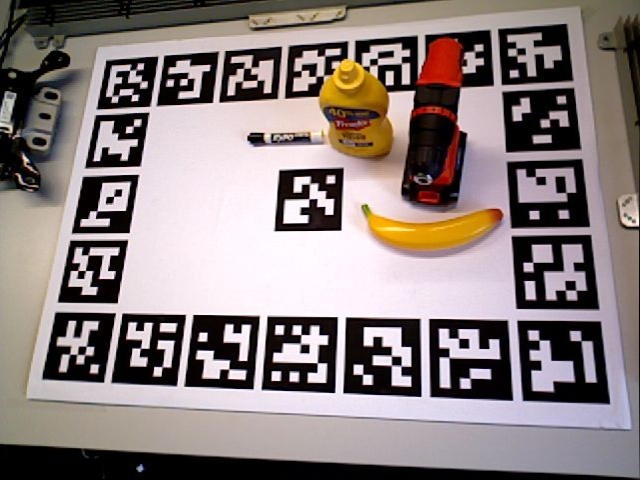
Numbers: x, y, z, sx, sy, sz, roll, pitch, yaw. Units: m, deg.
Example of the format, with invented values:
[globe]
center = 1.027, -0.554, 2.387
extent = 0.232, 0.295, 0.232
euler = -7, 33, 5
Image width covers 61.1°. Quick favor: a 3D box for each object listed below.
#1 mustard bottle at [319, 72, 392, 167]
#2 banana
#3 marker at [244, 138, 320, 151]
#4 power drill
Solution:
[mustard bottle]
center = 0.049, -0.168, 0.750
extent = 0.096, 0.193, 0.058
euler = 12, 74, 12
[banana]
center = 0.145, 0.004, 0.766
extent = 0.198, 0.039, 0.074
euler = 8, 77, 15
[marker]
center = -0.061, -0.151, 0.858
extent = 0.121, 0.020, 0.019
euler = 2, 74, 11
[power drill]
center = 0.147, -0.110, 0.697
extent = 0.057, 0.188, 0.183
euler = 15, 73, 12
